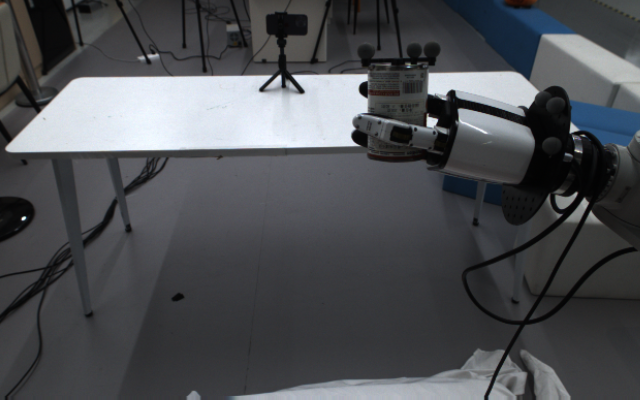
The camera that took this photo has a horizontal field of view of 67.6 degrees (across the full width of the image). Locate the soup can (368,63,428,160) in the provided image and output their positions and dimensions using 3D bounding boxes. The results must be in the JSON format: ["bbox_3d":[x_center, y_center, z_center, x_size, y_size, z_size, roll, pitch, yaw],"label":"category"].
[{"bbox_3d":[0.088,-0.098,0.541,0.067,0.101,0.067,-1,17,0],"label":"soup can"}]
